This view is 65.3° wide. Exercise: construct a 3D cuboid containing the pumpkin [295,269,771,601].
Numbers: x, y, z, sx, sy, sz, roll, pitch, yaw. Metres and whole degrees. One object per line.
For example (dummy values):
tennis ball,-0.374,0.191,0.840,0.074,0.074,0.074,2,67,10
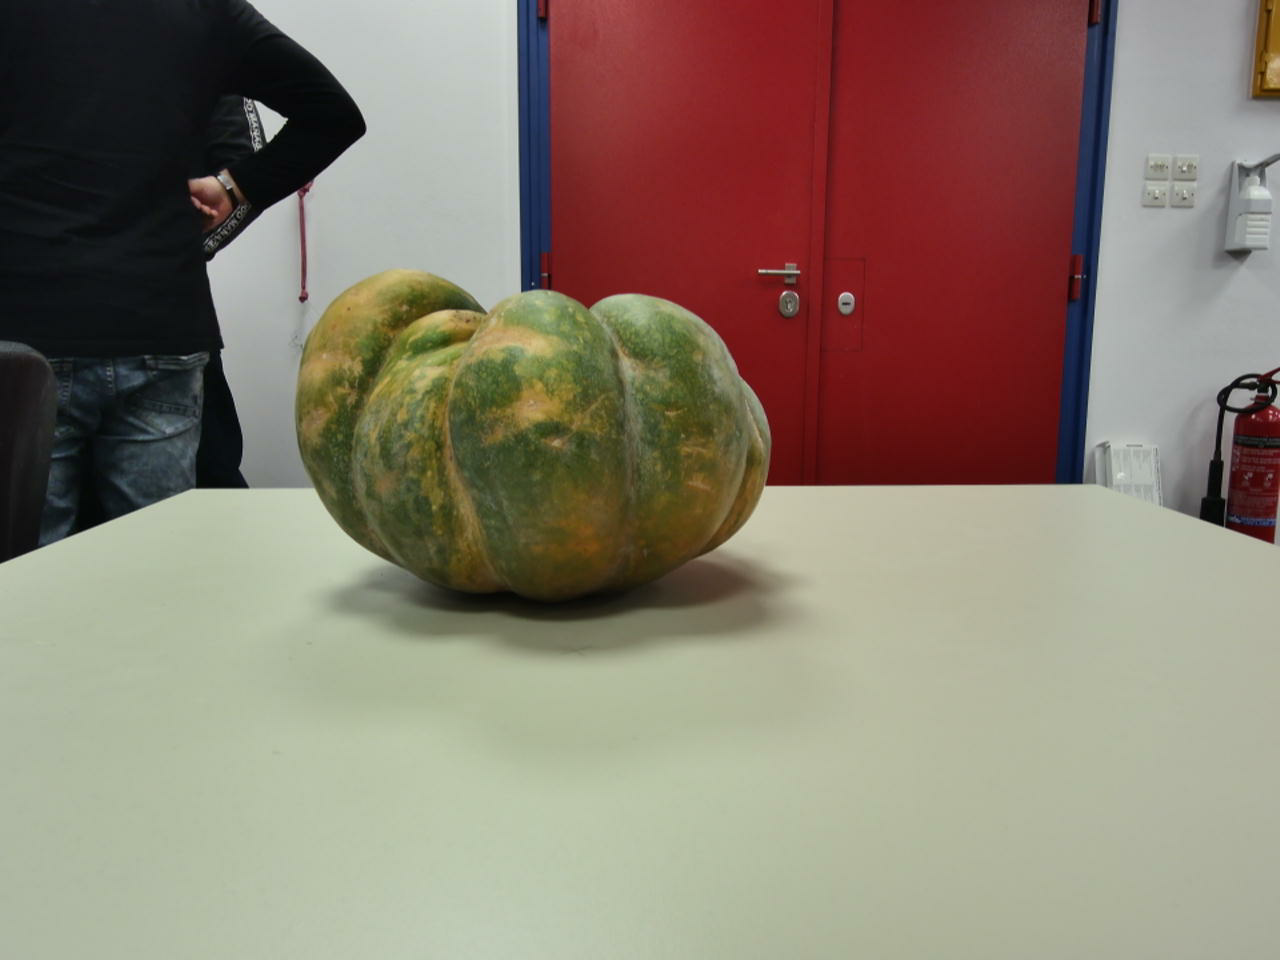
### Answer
pumpkin,-0.057,-0.027,0.562,0.270,0.173,0.237,5,8,36
